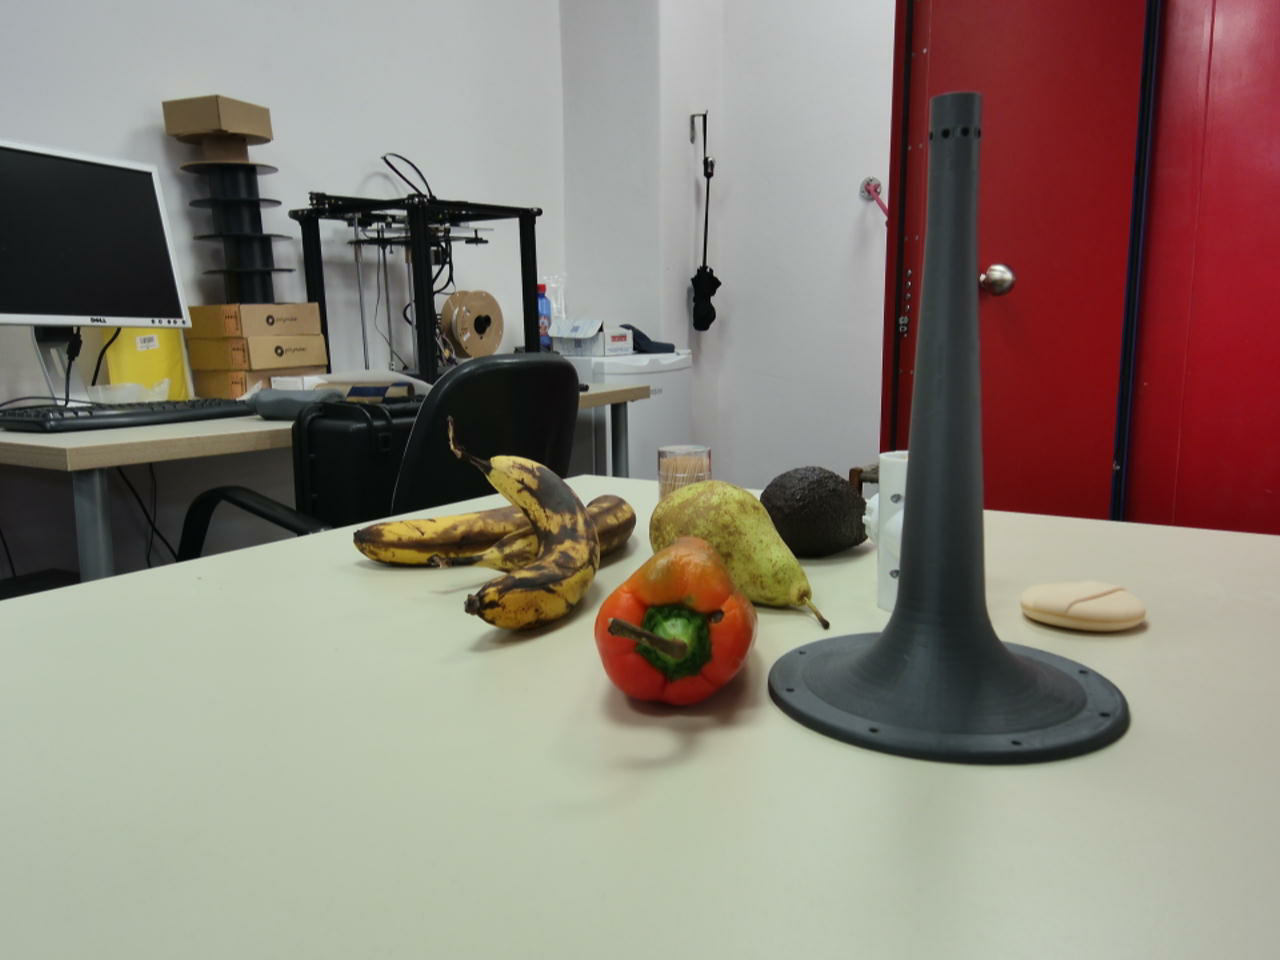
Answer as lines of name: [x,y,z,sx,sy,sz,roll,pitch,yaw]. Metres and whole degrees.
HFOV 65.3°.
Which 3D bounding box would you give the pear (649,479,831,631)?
pear: [0.064,0.039,0.612,0.128,0.075,0.071,4,8,26]
